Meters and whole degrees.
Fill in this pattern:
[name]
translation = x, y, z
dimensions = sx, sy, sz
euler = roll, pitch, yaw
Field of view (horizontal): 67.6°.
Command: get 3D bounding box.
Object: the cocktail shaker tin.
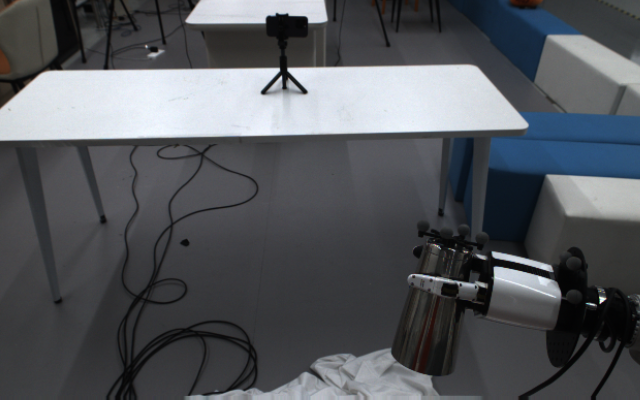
[cocktail shaker tin]
translation = 0.166, 0.141, 0.680
dimensions = 0.093, 0.170, 0.093
euler = 10, 9, -2
